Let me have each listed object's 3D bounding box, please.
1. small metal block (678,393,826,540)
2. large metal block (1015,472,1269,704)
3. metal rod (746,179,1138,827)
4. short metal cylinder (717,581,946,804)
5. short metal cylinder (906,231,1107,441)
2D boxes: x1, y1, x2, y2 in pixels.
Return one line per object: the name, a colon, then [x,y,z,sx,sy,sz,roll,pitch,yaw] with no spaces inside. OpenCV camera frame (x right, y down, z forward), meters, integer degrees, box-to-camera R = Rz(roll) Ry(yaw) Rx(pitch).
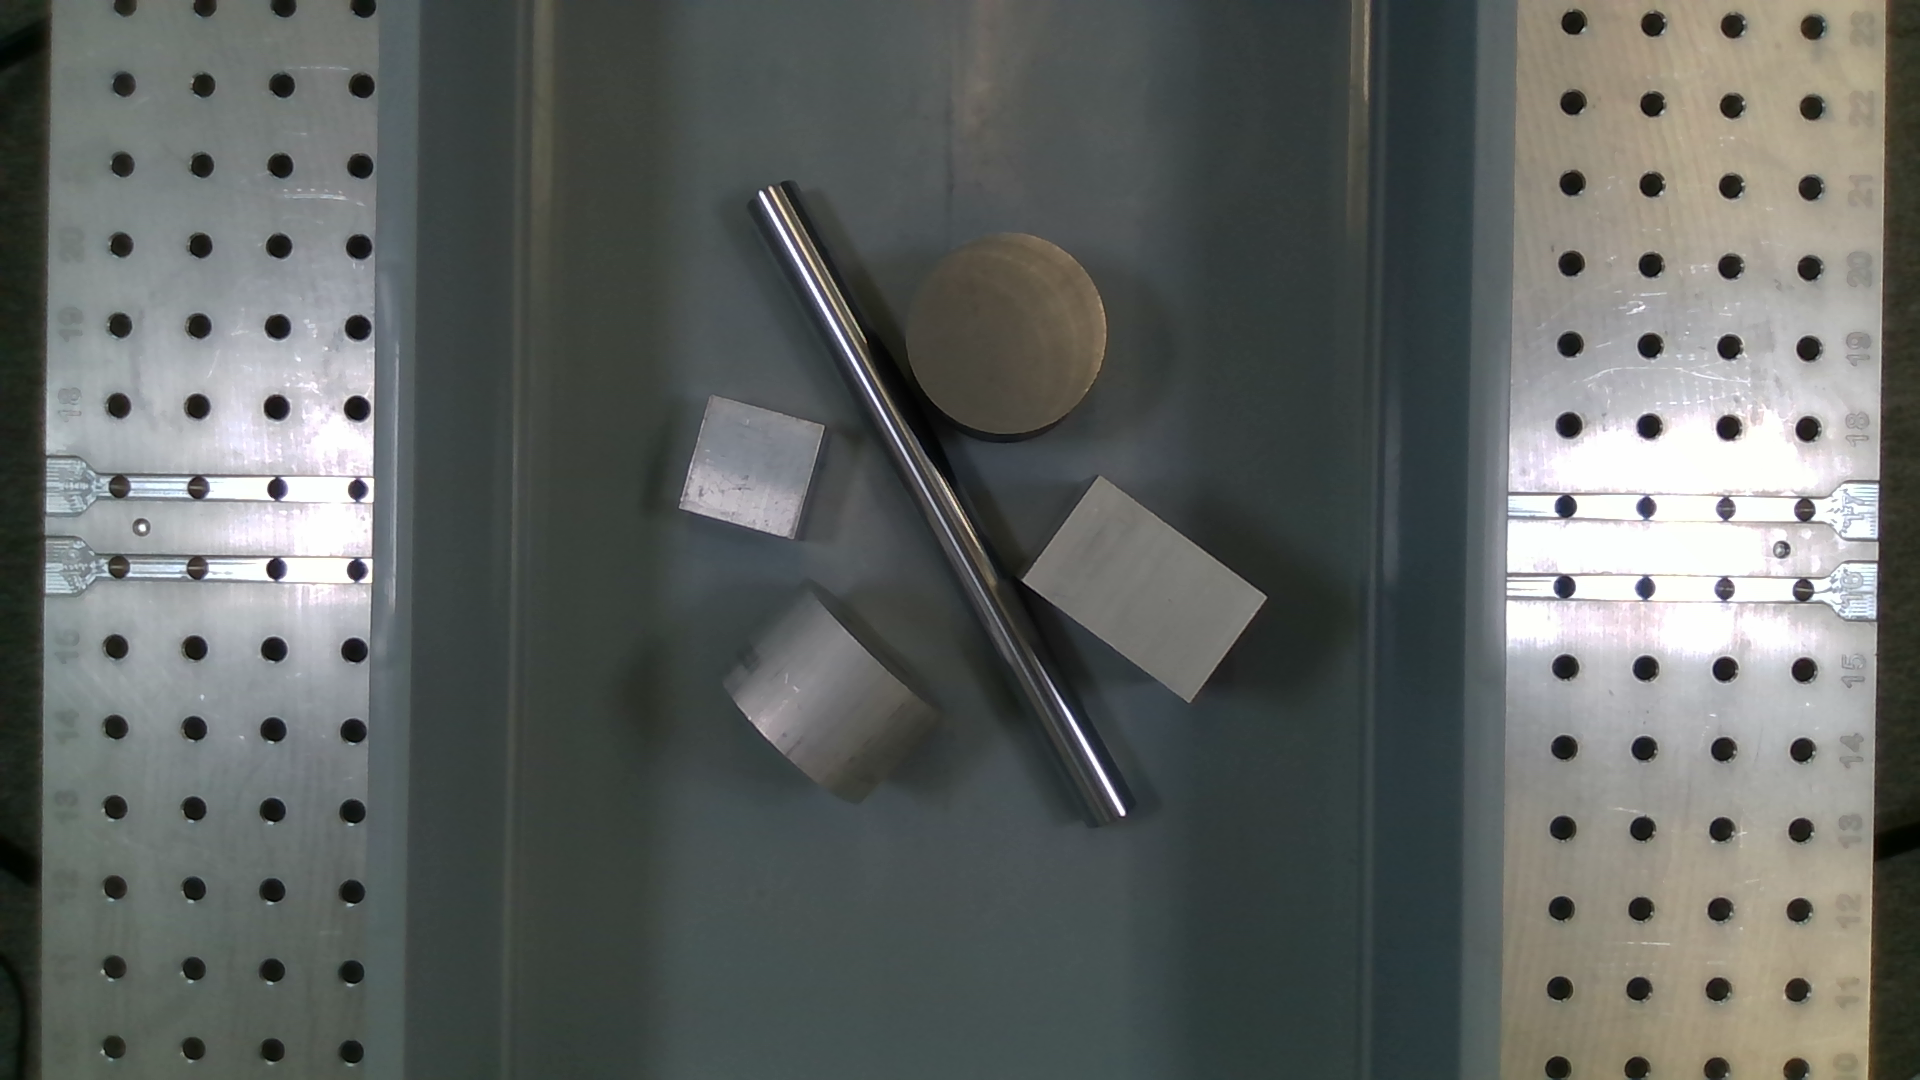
small metal block: [-0.087,-0.031,0.586,0.050,0.025,0.050,15,90,0]
large metal block: [0.070,0.018,0.559,0.080,0.080,0.050,36,90,0]
metal rod: [-0.008,-0.015,0.586,0.025,0.025,0.300,-29,91,0]
short metal cylinder: [-0.052,0.061,0.559,0.080,0.080,0.050,43,91,0]
short metal cylinder: [0.019,-0.083,0.573,0.080,0.050,0.080,0,90,0]
